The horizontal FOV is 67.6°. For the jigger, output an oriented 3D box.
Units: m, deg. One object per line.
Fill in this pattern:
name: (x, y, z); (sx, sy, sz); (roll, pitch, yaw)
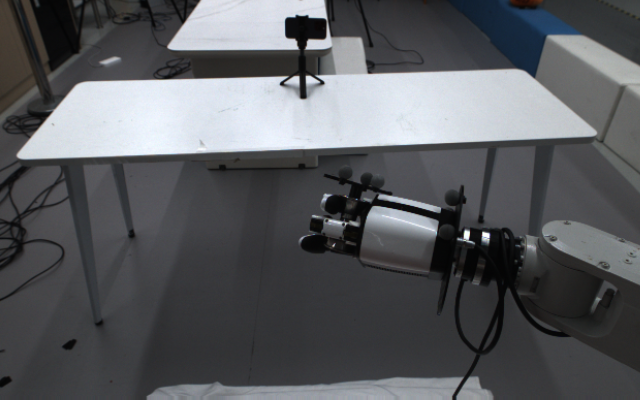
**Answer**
jigger: (0.035, 0.029, 0.611); (0.043, 0.071, 0.043); (17, 2, -1)
